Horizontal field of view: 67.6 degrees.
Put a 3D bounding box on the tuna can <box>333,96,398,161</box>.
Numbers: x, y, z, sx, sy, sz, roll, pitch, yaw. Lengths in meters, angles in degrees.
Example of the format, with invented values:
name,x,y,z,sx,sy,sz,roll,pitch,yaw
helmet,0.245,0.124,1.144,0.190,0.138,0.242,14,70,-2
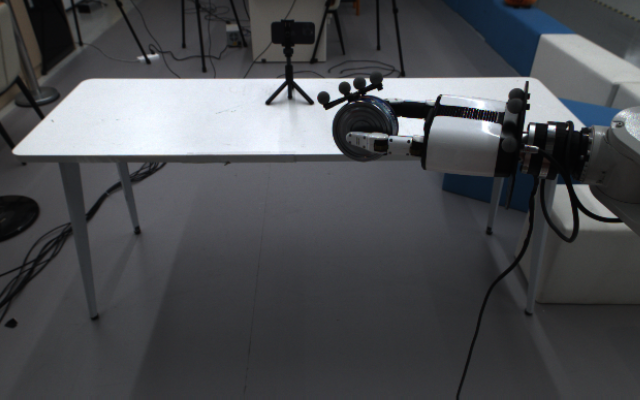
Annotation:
name,x,y,z,sx,sy,sz,roll,pitch,yaw
tuna can,0.065,-0.090,0.653,0.085,0.085,0.034,15,29,17
